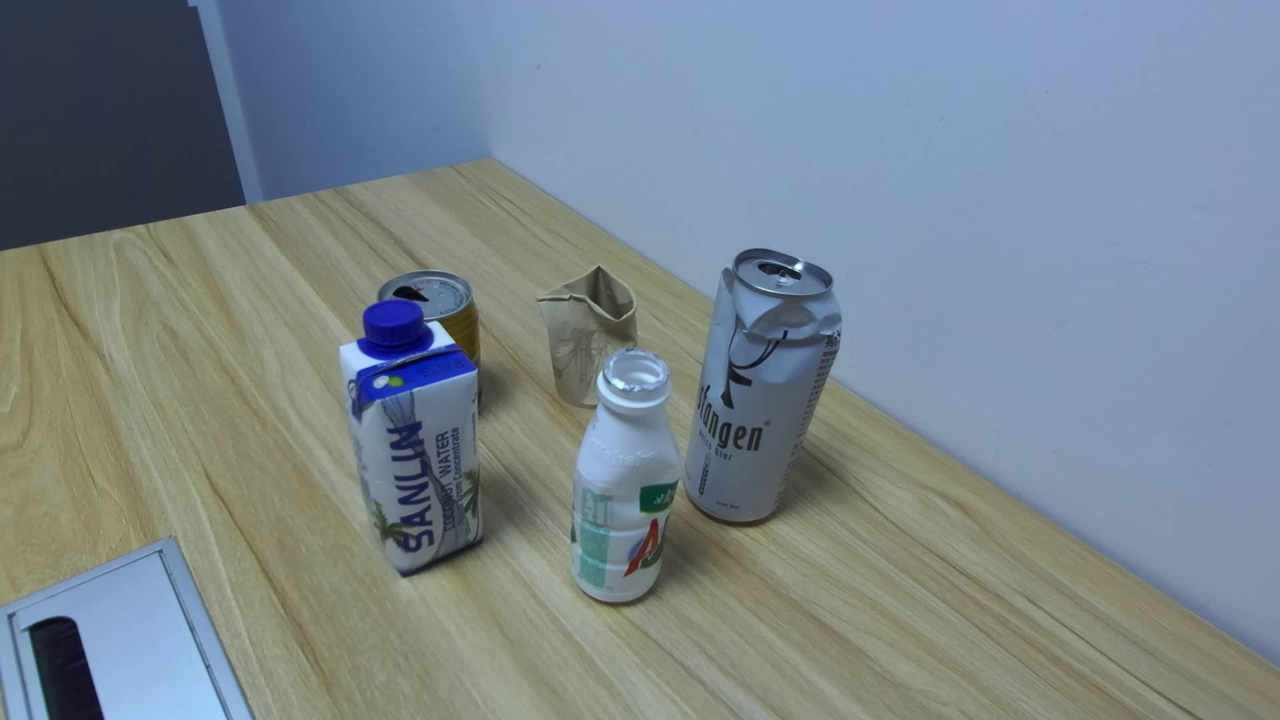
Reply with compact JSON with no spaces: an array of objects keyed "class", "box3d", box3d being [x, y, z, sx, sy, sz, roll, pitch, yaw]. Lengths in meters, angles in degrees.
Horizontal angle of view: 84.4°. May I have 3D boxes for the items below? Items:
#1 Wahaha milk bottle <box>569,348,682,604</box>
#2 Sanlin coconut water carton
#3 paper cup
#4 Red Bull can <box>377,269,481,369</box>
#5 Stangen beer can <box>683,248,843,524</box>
[{"class":"Wahaha milk bottle","box3d":[-0.007,0.062,0.358,0.056,0.149,0.055,5,37,-3]},{"class":"Sanlin coconut water carton","box3d":[-0.117,0.042,0.374,0.061,0.144,0.060,-21,45,-33]},{"class":"paper cup","box3d":[-0.038,-0.012,0.510,0.058,0.083,0.066,-18,41,-26]},{"class":"Red Bull can","box3d":[-0.142,-0.006,0.480,0.067,0.093,0.067,4,37,-3]},{"class":"Stangen beer can","box3d":[0.068,0.020,0.414,0.066,0.166,0.066,2,37,-7]}]
